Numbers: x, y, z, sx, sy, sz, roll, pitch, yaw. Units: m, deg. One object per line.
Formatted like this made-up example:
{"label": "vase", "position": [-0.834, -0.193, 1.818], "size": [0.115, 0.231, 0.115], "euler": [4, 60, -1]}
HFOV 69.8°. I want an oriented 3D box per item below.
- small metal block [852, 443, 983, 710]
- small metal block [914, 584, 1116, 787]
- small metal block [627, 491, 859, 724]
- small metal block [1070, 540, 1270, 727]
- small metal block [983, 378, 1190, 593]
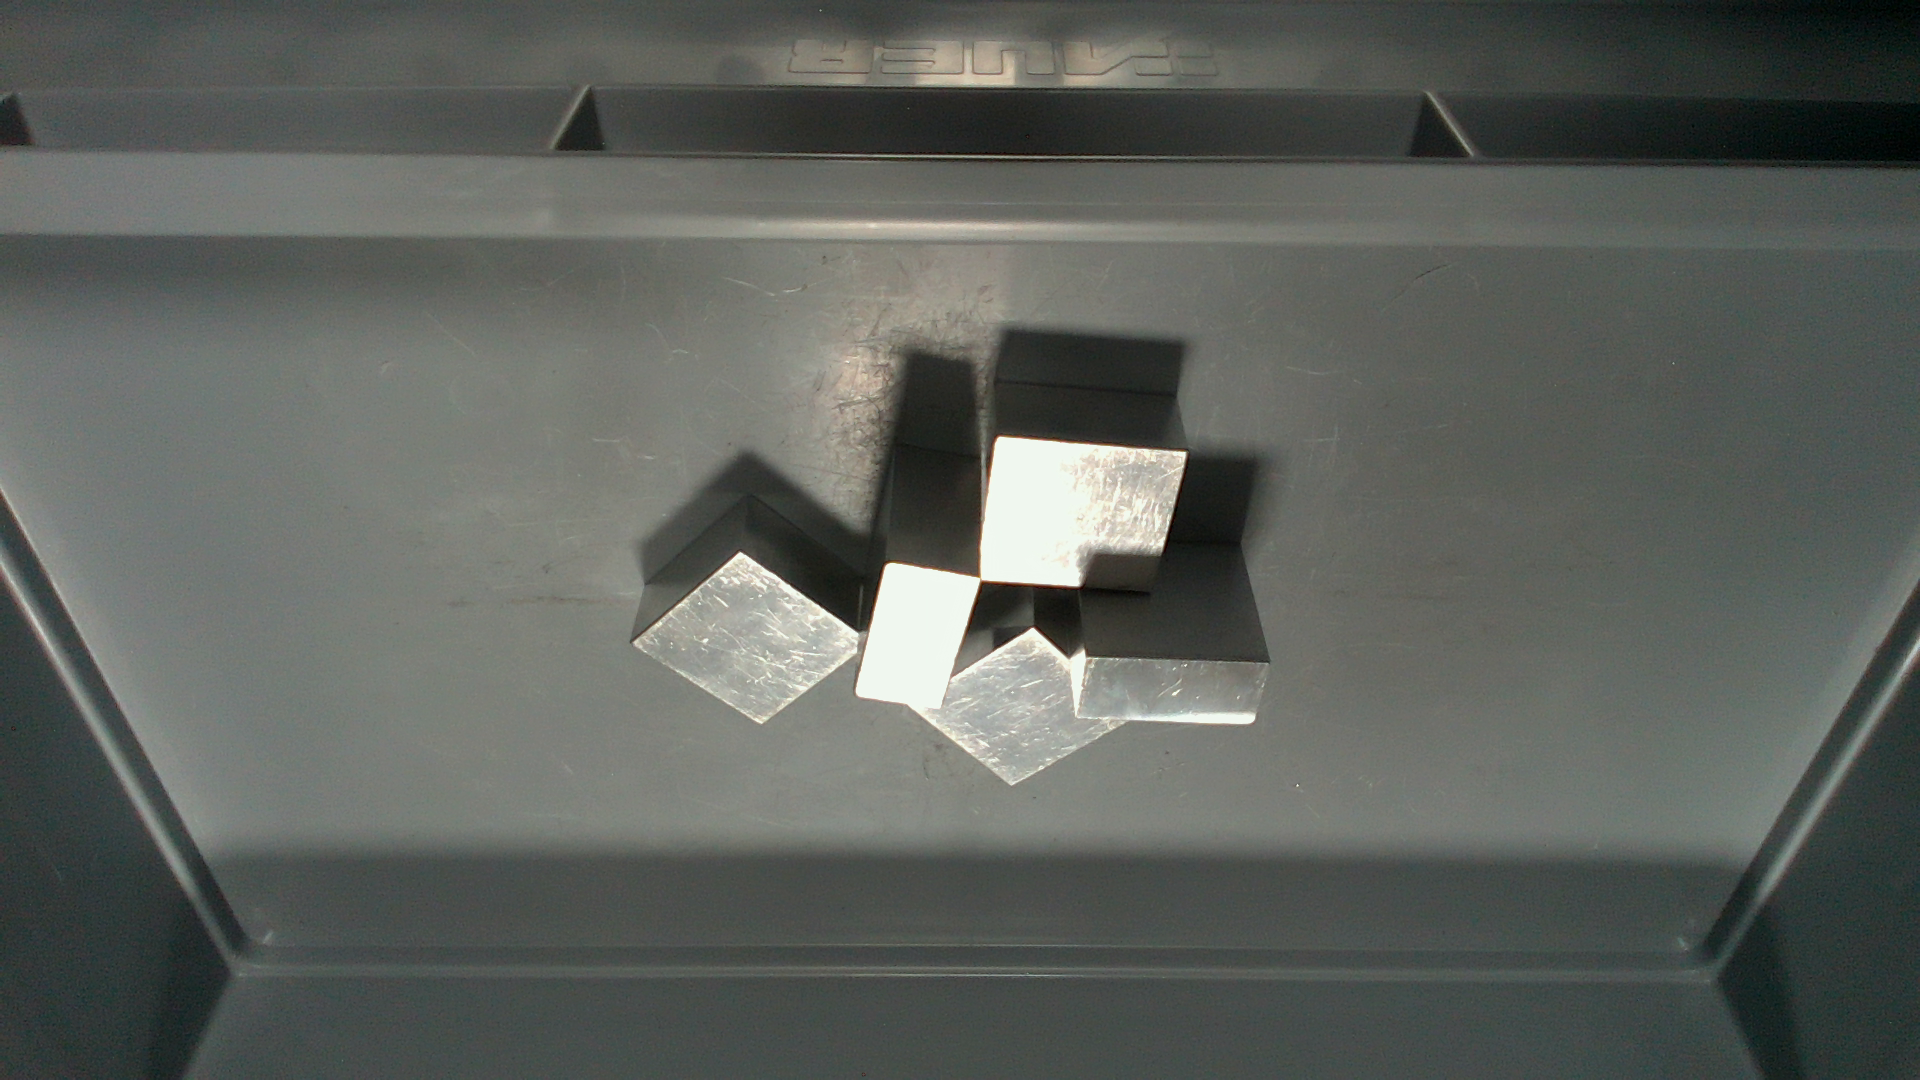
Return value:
{"label": "small metal block", "position": [-0.012, 0.010, 0.380], "size": [0.025, 0.050, 0.050], "euler": [10, 130, -8]}
{"label": "small metal block", "position": [0.019, 0.044, 0.425], "size": [0.050, 0.025, 0.050], "euler": [-33, 123, 25]}
{"label": "small metal block", "position": [-0.061, 0.021, 0.406], "size": [0.050, 0.025, 0.050], "euler": [-37, 121, 27]}
{"label": "small metal block", "position": [0.057, 0.025, 0.394], "size": [0.050, 0.050, 0.025], "euler": [2, 130, -2]}
{"label": "small metal block", "position": [0.032, -0.014, 0.377], "size": [0.050, 0.025, 0.050], "euler": [5, 130, -4]}
